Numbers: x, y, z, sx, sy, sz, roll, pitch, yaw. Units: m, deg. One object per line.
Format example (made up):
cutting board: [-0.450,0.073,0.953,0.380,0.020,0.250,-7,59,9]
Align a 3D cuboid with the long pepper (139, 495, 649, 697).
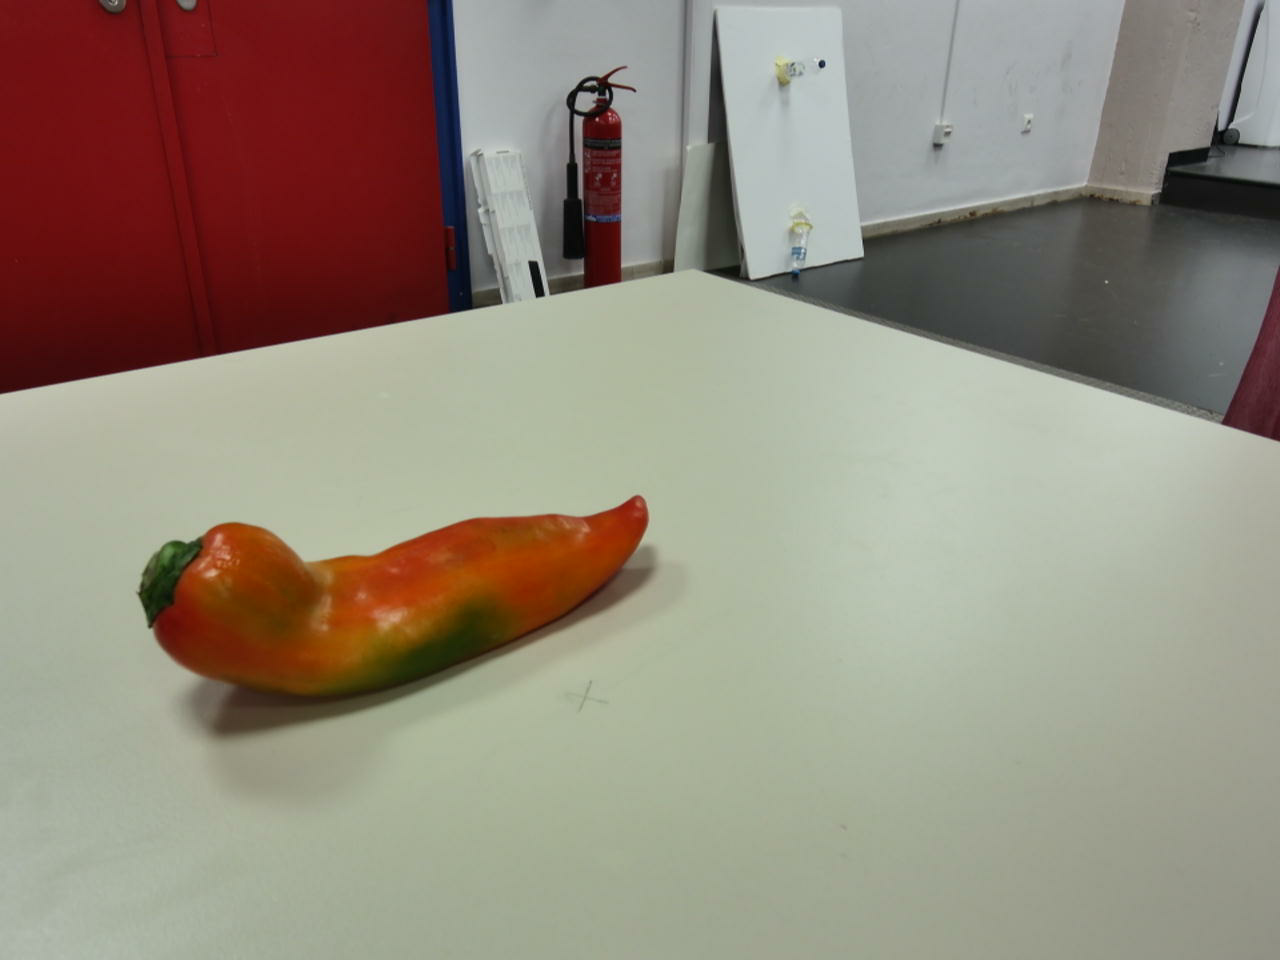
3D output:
long pepper: [-0.076,0.029,0.375,0.199,0.065,0.066,-15,27,-31]
